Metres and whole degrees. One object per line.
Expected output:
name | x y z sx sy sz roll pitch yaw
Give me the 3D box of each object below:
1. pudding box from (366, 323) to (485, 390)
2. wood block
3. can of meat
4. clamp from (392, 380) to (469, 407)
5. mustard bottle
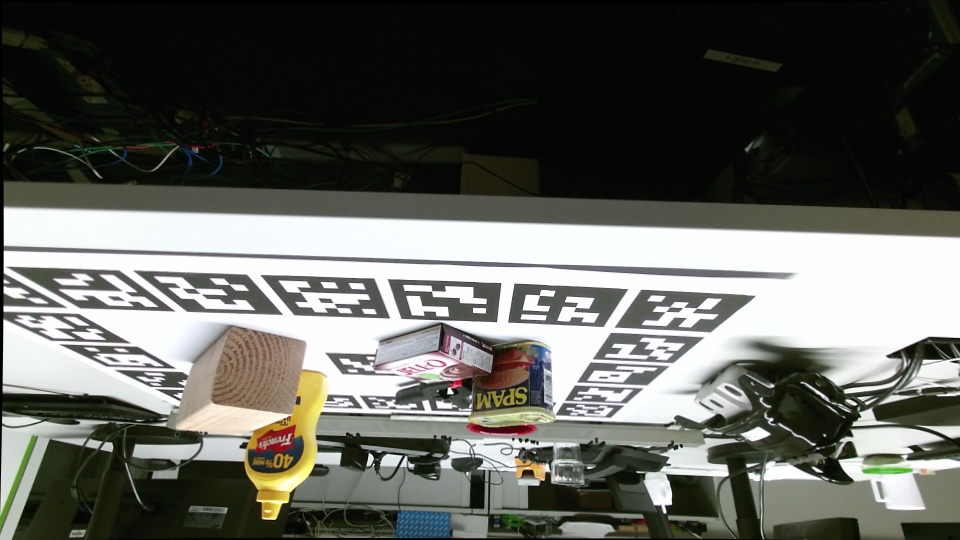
pudding box | -0.064 0.105 0.632 0.114 0.038 0.090 -20 143 36
wood block | -0.316 0.151 0.684 0.090 0.090 0.206 20 148 -32
can of meat | 0.034 0.142 0.635 0.102 0.083 0.058 -15 145 28
clamp | -0.059 0.185 0.781 0.122 0.036 0.165 13 147 -14
mustard bottle | -0.276 0.251 0.746 0.096 0.190 0.058 -2 149 5
